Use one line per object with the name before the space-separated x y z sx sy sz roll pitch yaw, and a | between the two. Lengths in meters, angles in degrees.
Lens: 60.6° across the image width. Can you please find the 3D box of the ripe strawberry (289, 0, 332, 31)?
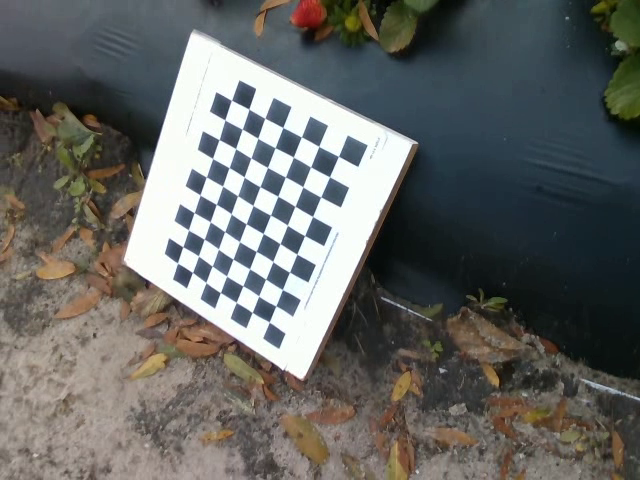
ripe strawberry | -0.011 -0.233 0.559 0.040 0.042 0.037 40 -24 11
